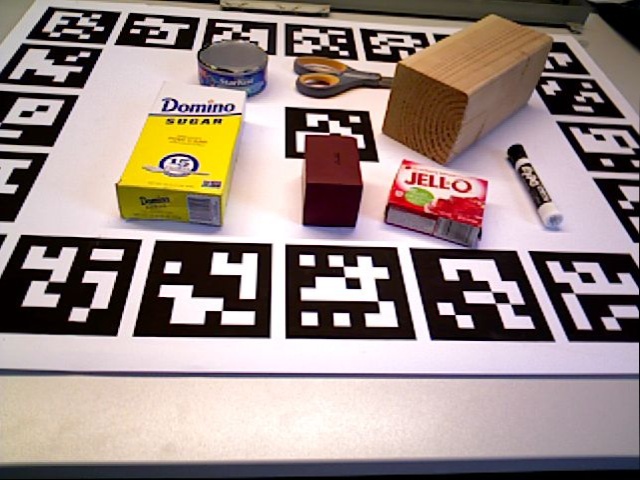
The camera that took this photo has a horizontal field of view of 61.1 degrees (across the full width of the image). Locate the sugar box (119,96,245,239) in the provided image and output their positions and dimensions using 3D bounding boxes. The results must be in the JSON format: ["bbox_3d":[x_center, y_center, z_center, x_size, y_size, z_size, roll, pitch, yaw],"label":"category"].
[{"bbox_3d":[-0.130,-0.078,0.545,0.092,0.046,0.173,5,47,-3],"label":"sugar box"}]

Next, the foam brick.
[{"bbox_3d":[0.013,-0.043,0.515,0.052,0.052,0.077,3,47,-4],"label":"foam brick"}]

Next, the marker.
[{"bbox_3d":[0.221,-0.046,0.567,0.019,0.020,0.119,2,49,-5],"label":"marker"}]

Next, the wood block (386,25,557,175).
[{"bbox_3d":[0.179,-0.165,0.632,0.090,0.093,0.201,35,52,25],"label":"wood block"}]

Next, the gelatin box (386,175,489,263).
[{"bbox_3d":[0.115,-0.023,0.529,0.089,0.031,0.072,15,48,8],"label":"gelatin box"}]

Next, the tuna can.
[{"bbox_3d":[-0.113,-0.198,0.661,0.085,0.034,0.084,3,47,-4],"label":"tuna can"}]

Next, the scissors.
[{"bbox_3d":[0.057,-0.190,0.690,0.202,0.016,0.086,6,47,2],"label":"scissors"}]
